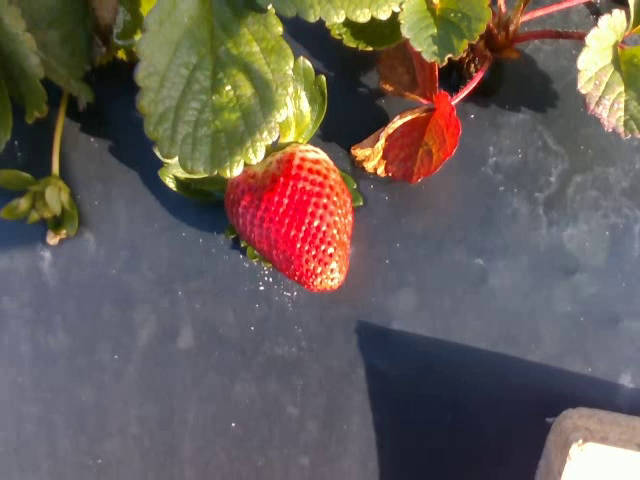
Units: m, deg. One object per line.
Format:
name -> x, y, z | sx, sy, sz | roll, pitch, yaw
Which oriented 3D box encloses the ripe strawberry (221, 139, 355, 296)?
ripe strawberry -> -0.008, -0.004, 0.178 | 0.040, 0.056, 0.040 | -40, -37, 20
